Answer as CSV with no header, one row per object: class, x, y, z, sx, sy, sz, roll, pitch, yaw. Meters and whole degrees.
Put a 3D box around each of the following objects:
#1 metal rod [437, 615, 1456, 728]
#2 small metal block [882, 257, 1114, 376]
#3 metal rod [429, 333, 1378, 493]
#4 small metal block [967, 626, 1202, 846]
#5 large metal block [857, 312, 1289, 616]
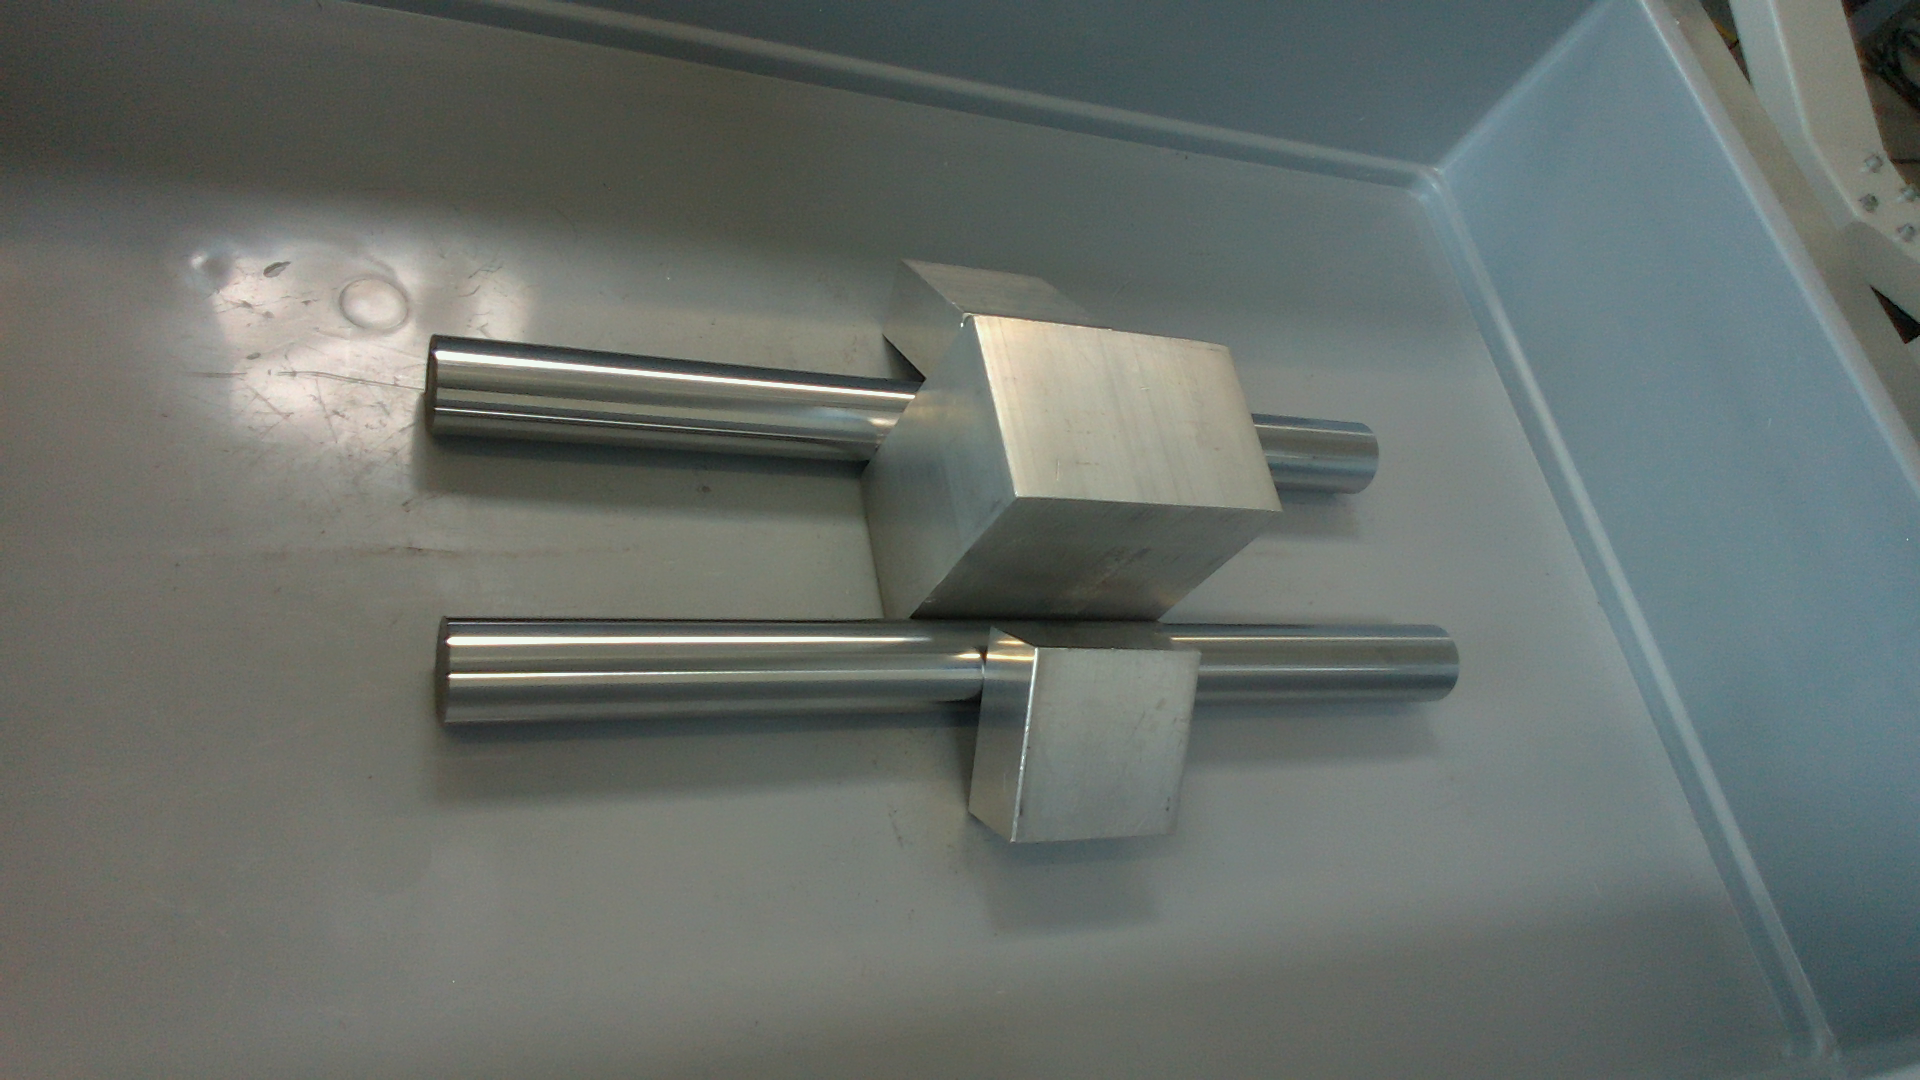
metal rod,0.018,0.034,0.377,0.301,0.025,0.025,2,61,-27
small metal block,0.010,-0.064,0.418,0.050,0.025,0.050,1,27,-28
metal rod,0.003,-0.034,0.409,0.301,0.025,0.025,2,61,-27
small metal block,0.032,0.050,0.359,0.050,0.025,0.050,3,98,-27
large metal block,0.027,-0.013,0.374,0.080,0.080,0.050,2,61,-27
